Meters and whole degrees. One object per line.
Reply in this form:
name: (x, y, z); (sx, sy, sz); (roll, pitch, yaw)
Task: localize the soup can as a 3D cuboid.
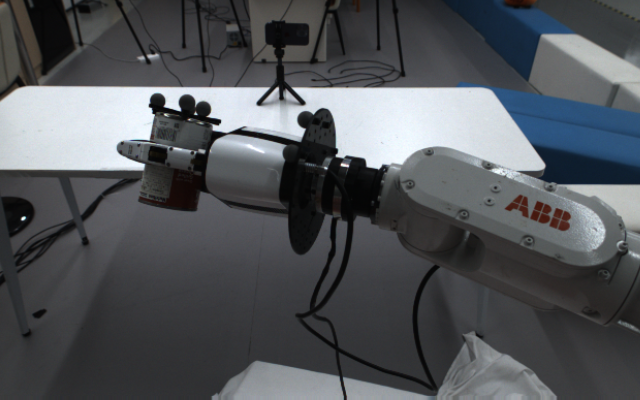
soup can: (-0.165, -0.042, 0.557); (0.067, 0.101, 0.067); (12, 2, 0)
